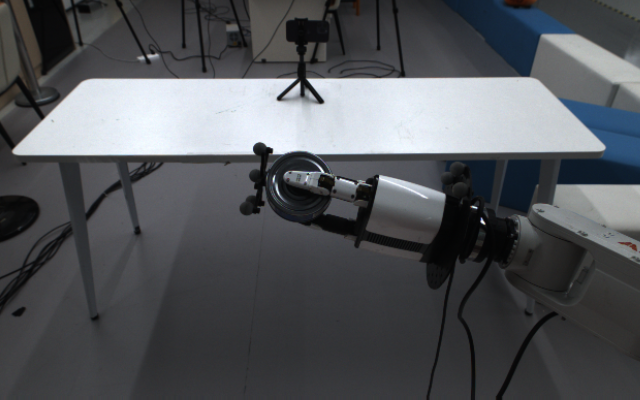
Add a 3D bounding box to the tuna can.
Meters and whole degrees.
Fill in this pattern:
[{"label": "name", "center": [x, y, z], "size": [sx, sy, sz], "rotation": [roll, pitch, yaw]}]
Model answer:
[{"label": "tuna can", "center": [-0.023, -0.018, 0.606], "size": [0.085, 0.034, 0.085], "rotation": [2, 73, -5]}]
